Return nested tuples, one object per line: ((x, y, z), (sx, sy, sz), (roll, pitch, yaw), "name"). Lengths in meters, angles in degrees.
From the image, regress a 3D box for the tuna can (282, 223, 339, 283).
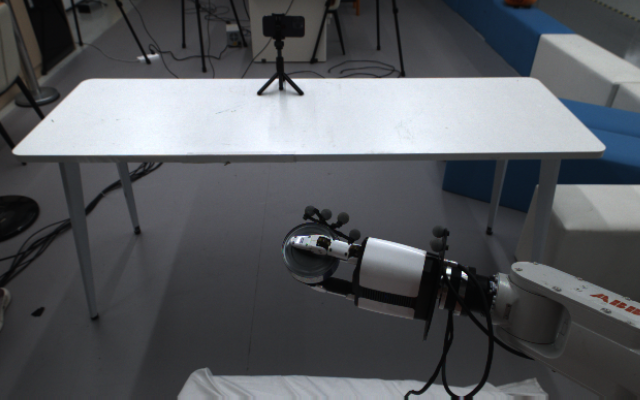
((-0.012, 0.078, 0.712), (0.085, 0.034, 0.085), (-2, 60, 3), "tuna can")
